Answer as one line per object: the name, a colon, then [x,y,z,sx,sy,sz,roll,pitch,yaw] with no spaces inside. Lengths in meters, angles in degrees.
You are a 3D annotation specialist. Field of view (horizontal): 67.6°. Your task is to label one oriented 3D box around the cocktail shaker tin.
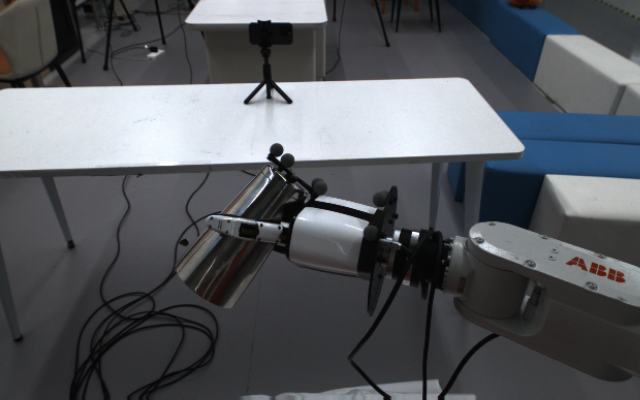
cocktail shaker tin: [-0.092,0.038,0.612,0.170,0.093,0.093,-50,46,4]
